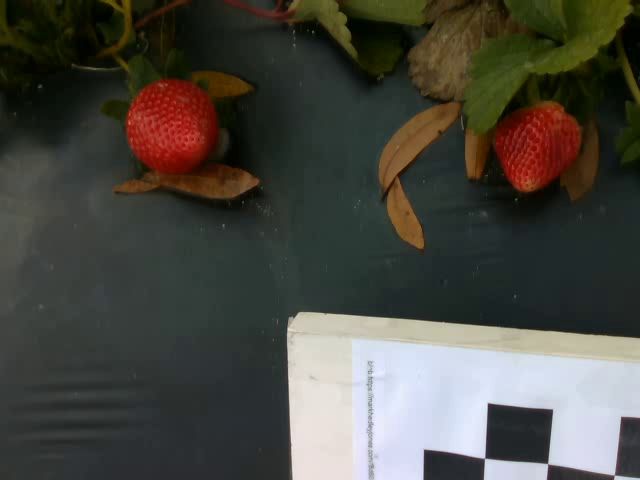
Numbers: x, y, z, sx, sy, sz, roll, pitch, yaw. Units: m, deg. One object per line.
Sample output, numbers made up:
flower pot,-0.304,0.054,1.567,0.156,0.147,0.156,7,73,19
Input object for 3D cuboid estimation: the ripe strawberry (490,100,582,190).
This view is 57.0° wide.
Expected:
ripe strawberry,0.088,-0.033,0.235,0.040,0.042,0.037,13,-31,7

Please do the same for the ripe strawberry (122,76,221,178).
ripe strawberry,-0.063,-0.046,0.262,0.042,0.047,0.065,-6,22,-27
